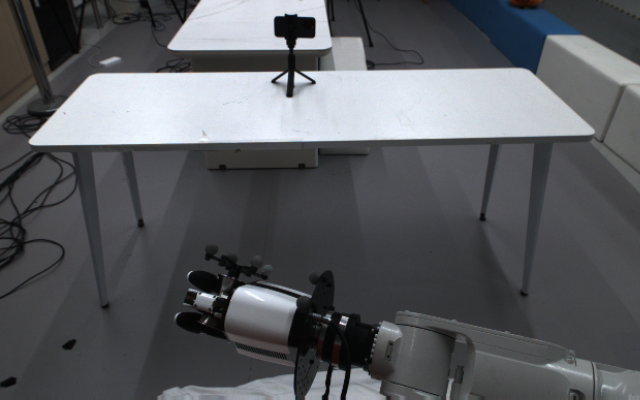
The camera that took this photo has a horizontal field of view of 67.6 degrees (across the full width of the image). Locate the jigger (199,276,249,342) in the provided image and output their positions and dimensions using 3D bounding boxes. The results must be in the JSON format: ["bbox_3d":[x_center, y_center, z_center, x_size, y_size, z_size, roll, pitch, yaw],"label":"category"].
[{"bbox_3d":[-0.126,0.136,0.639,0.043,0.043,0.071,13,70,16],"label":"jigger"}]
